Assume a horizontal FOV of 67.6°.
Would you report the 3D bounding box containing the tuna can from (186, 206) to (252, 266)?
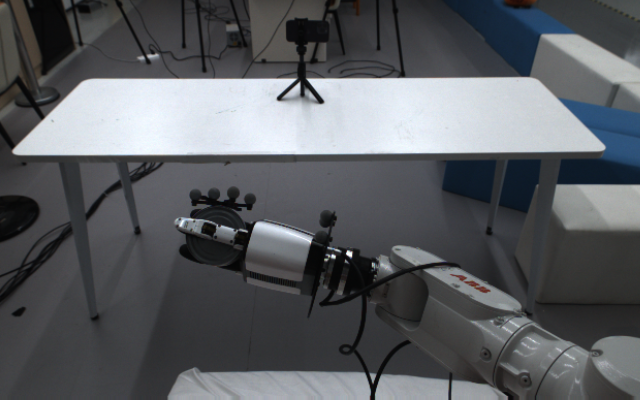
[{"bbox_3d":[-0.145,0.054,0.695,0.085,0.034,0.085,0,77,-2],"label":"tuna can"}]
